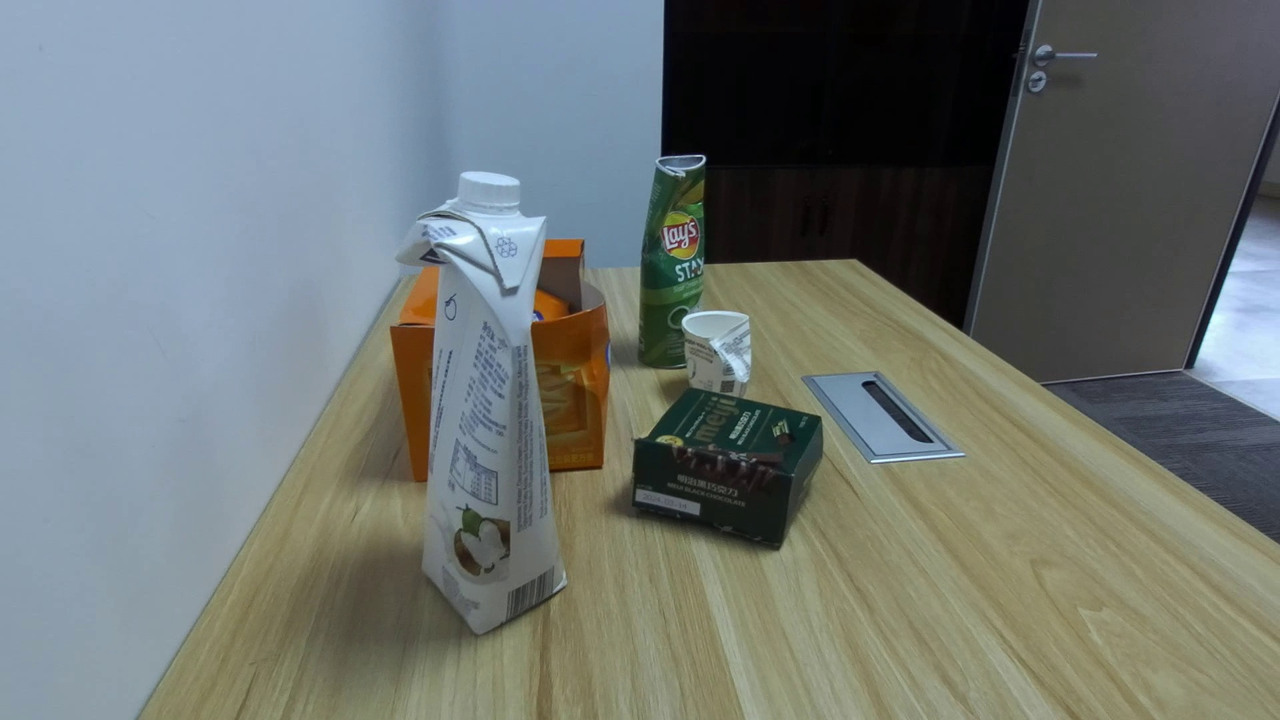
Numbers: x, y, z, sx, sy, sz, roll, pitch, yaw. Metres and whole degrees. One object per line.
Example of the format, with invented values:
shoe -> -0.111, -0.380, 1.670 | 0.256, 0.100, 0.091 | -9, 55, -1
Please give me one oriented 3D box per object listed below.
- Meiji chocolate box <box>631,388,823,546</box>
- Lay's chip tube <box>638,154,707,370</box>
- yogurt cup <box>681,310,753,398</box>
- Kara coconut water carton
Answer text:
Meiji chocolate box -> 0.065, 0.071, 0.507 | 0.122, 0.058, 0.116 | 11, 23, 20
Lay's chip tube -> 0.033, -0.095, 0.699 | 0.069, 0.201, 0.077 | -2, 27, -5
yogurt cup -> 0.069, -0.001, 0.644 | 0.067, 0.070, 0.067 | -1, 25, 1
Kara coconut water carton -> -0.083, 0.024, 0.380 | 0.069, 0.238, 0.114 | -17, 29, -37
